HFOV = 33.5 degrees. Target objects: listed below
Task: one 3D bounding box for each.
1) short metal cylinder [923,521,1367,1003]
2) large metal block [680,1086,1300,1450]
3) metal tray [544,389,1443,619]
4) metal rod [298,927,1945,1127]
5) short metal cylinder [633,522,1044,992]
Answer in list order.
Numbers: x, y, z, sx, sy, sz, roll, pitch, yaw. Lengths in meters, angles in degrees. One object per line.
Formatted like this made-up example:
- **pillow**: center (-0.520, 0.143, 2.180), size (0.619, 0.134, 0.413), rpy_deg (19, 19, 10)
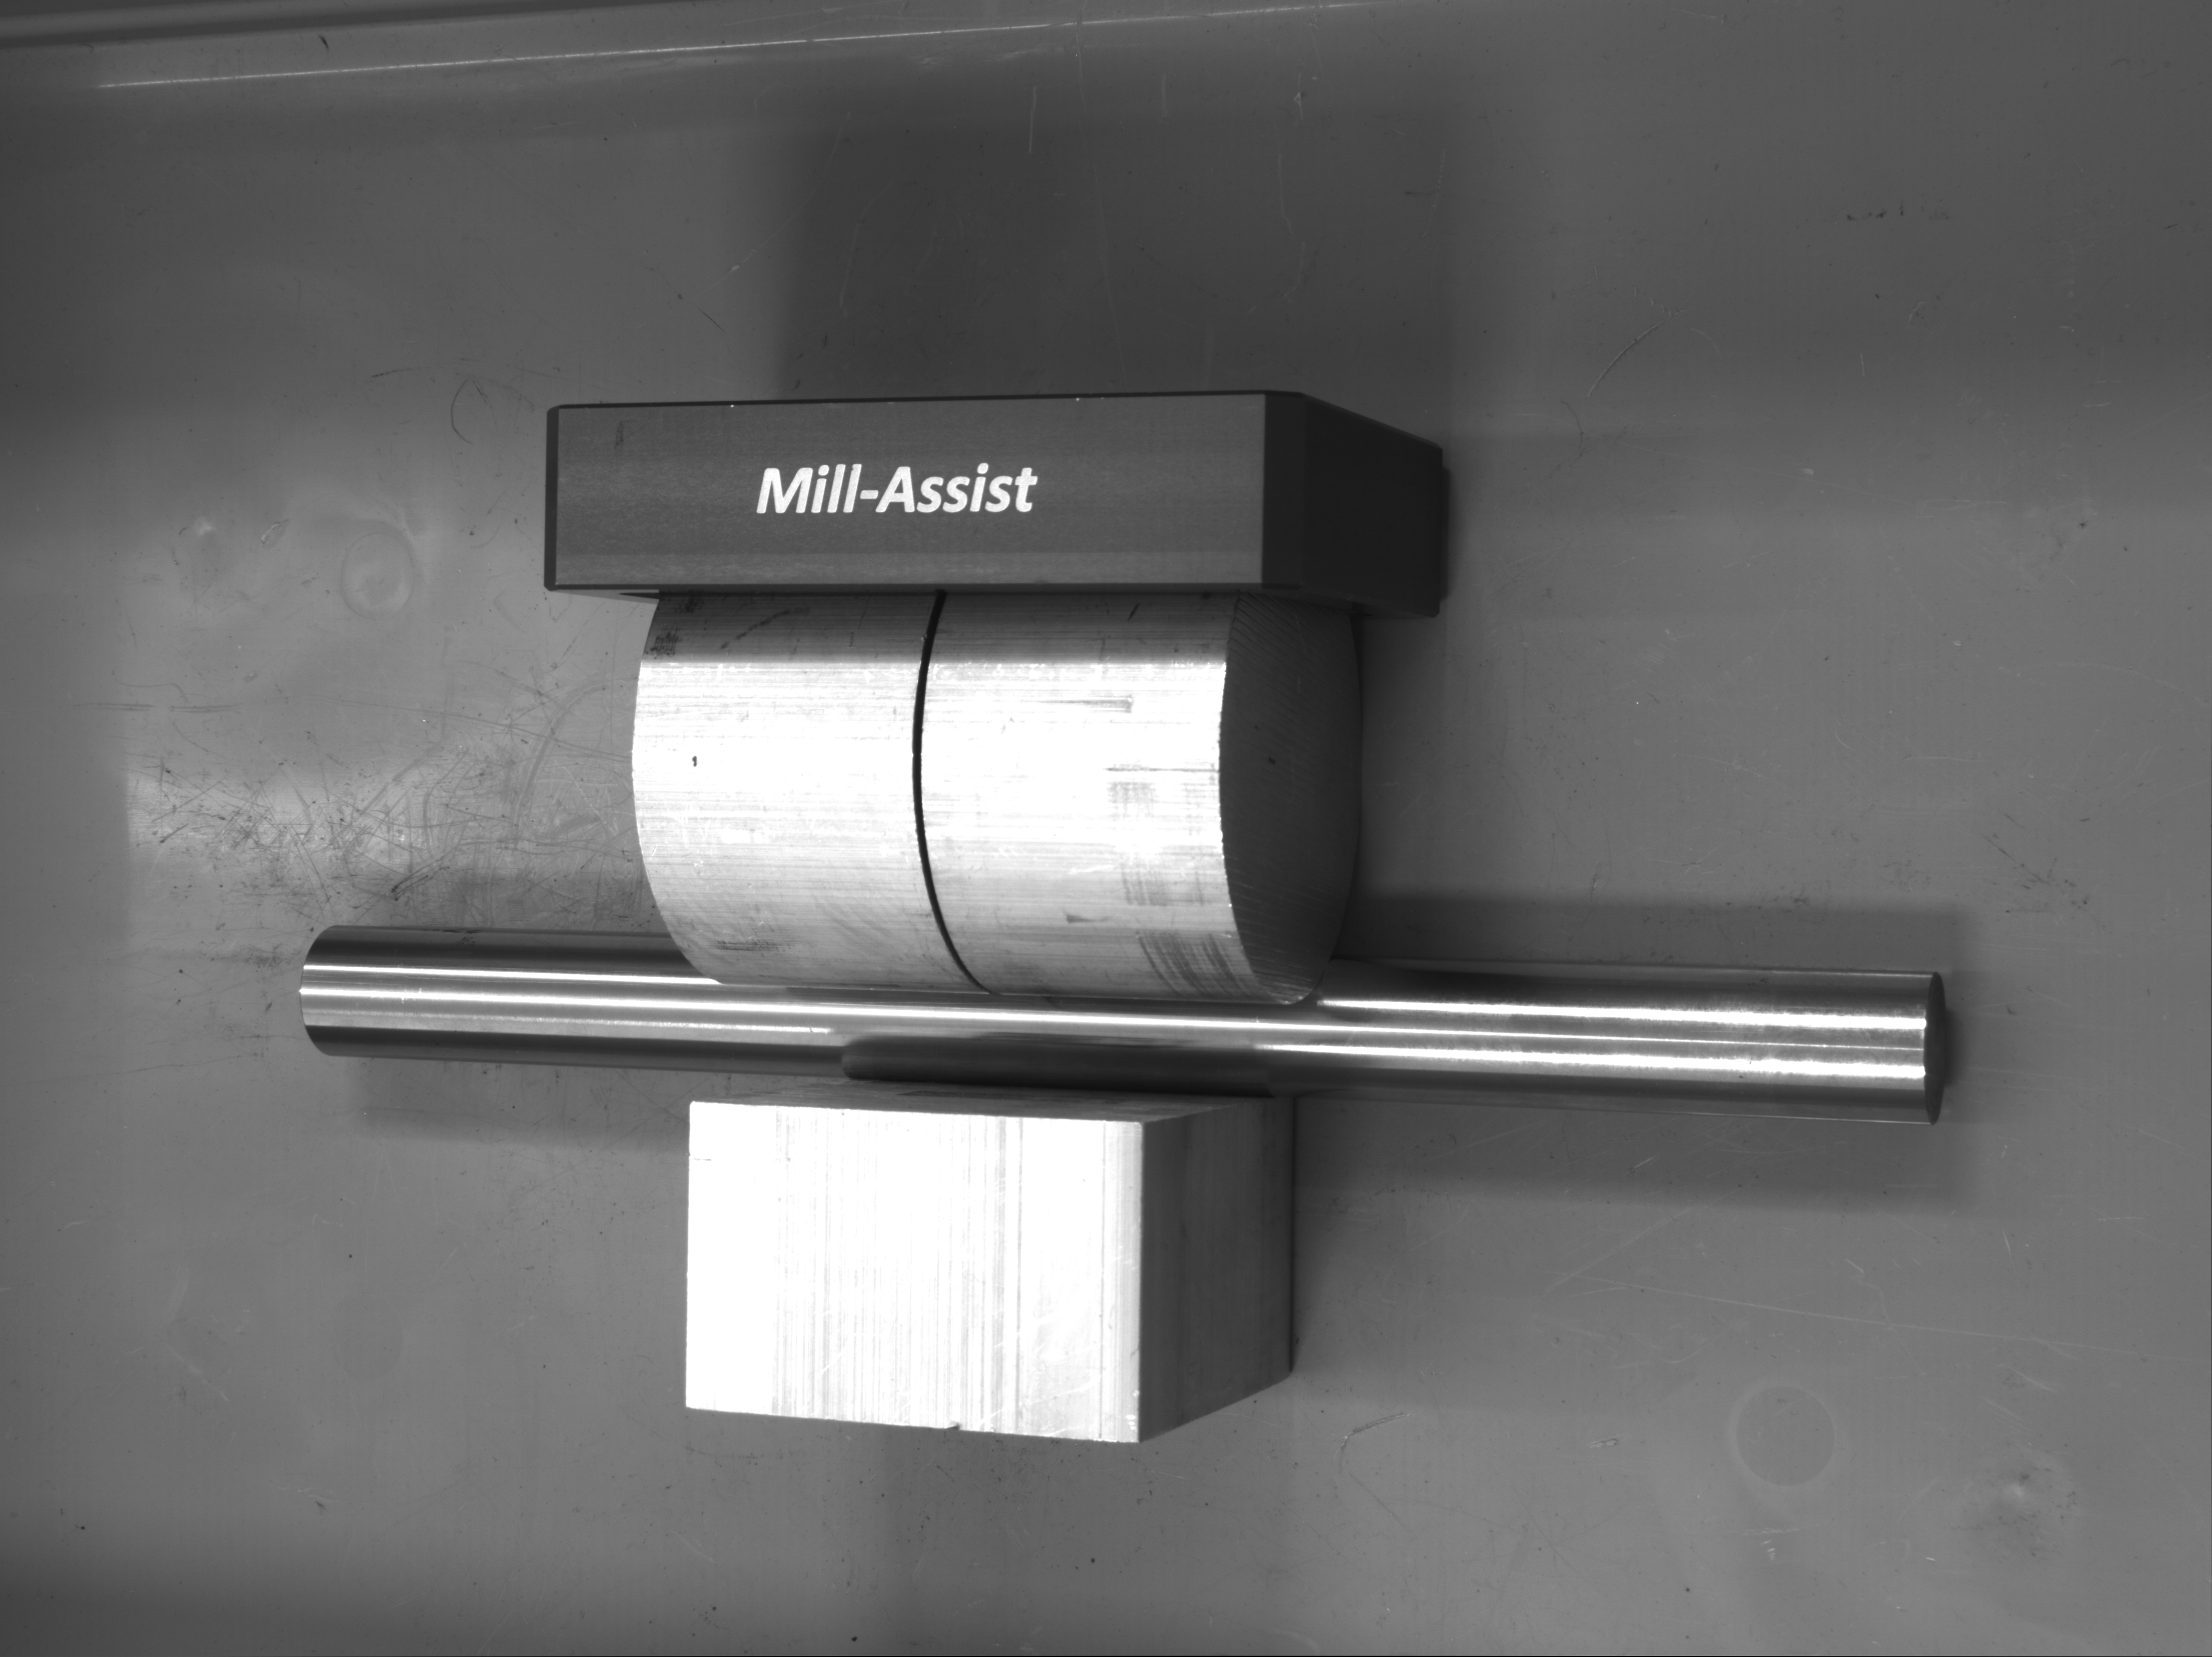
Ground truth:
- **short metal cylinder**: center (0.008, -0.012, 0.614), size (0.050, 0.080, 0.080), rpy_deg (2, 90, 20)
- **large metal block**: center (-0.018, 0.071, 0.622), size (0.080, 0.080, 0.050), rpy_deg (1, 90, 20)
- **metal tray**: center (-0.017, -0.053, 0.617), size (0.130, 0.090, 0.030), rpy_deg (1, 90, 20)
- **metal rod**: center (-0.006, 0.034, 0.647), size (0.299, 0.025, 0.025), rpy_deg (1, 90, 20)
- **short metal cylinder**: center (-0.040, -0.012, 0.632), size (0.050, 0.080, 0.080), rpy_deg (1, 90, 20)
